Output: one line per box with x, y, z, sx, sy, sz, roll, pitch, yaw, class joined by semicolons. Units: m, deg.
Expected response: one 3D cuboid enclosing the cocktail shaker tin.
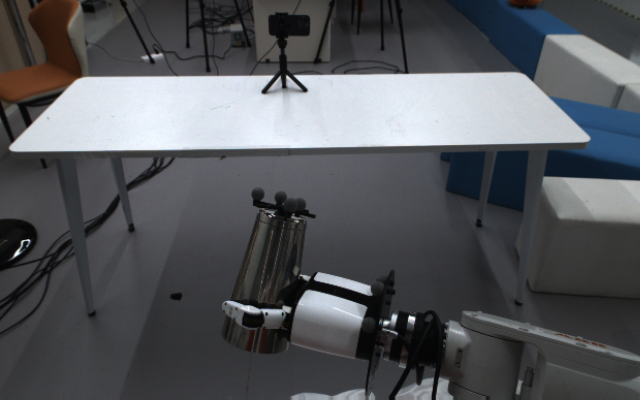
-0.067;0.102;0.638;0.093;0.170;0.093;13;4;-1;cocktail shaker tin
